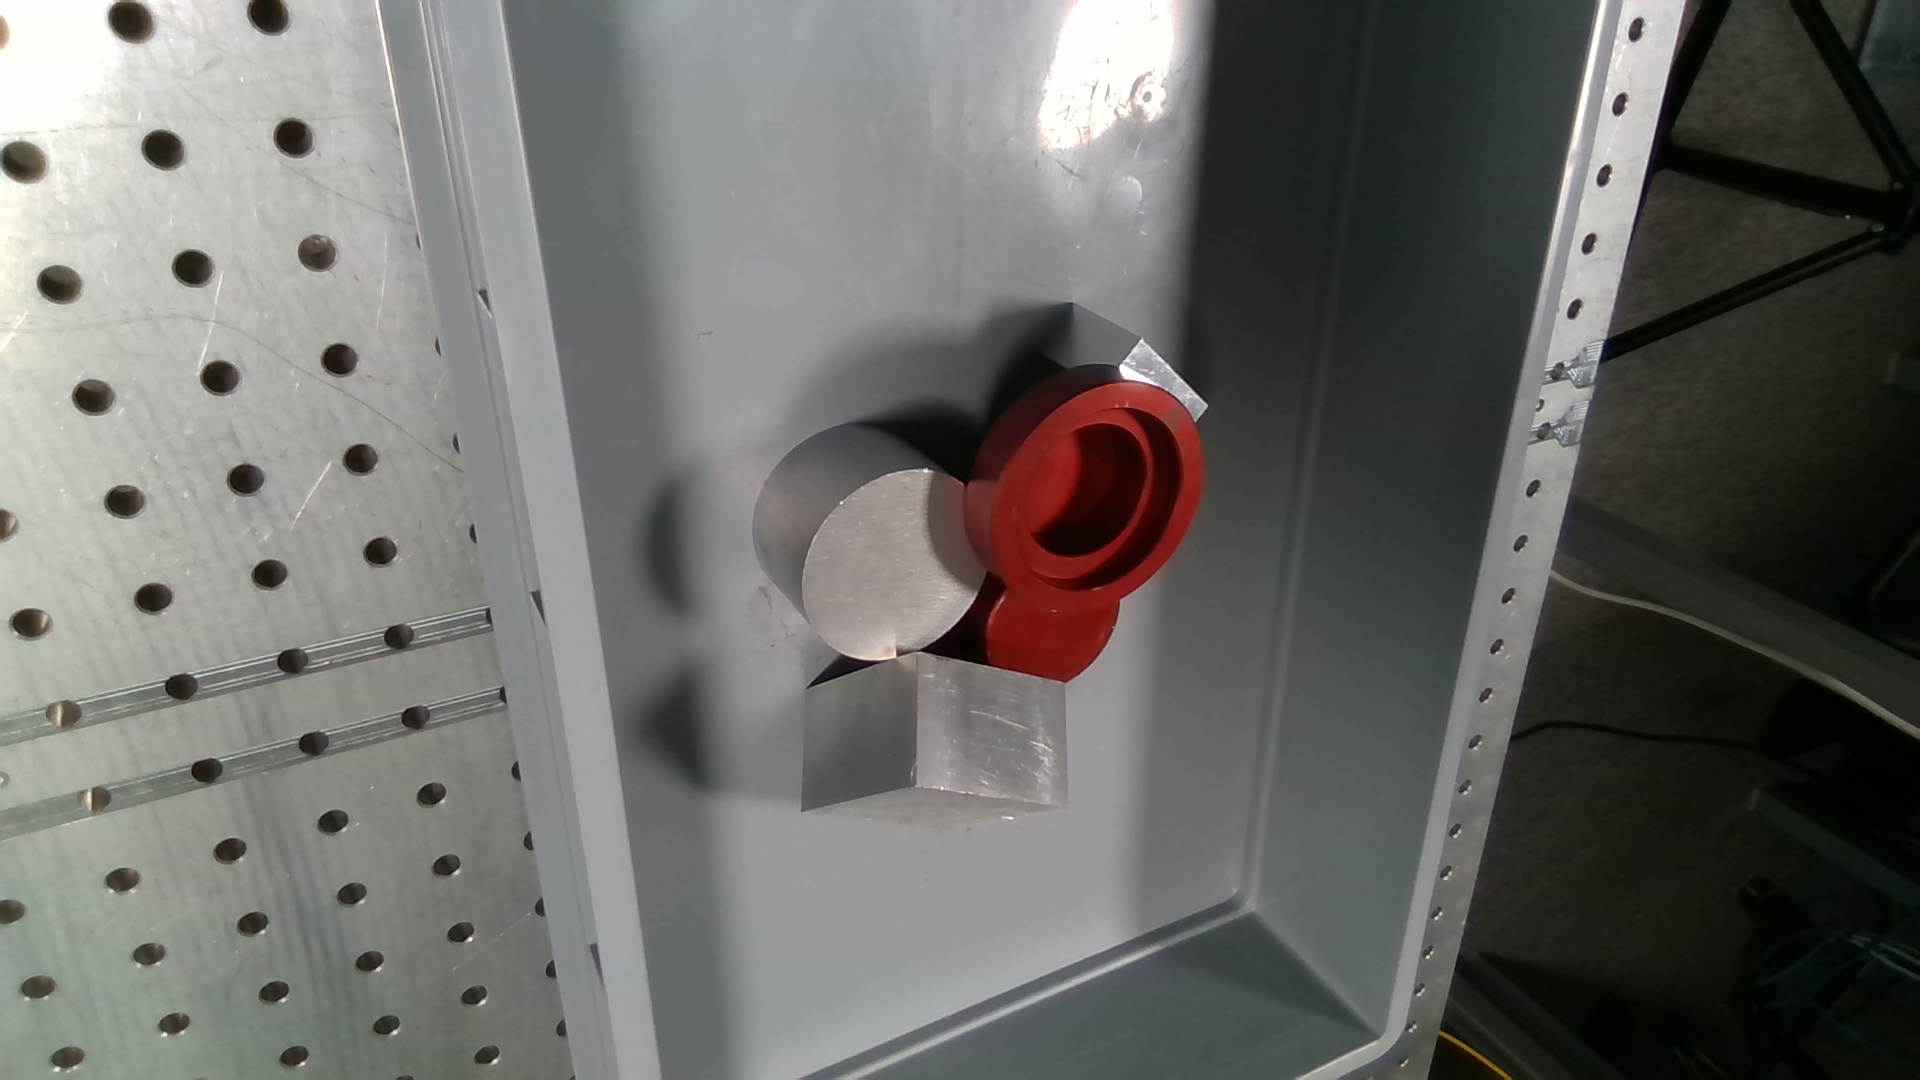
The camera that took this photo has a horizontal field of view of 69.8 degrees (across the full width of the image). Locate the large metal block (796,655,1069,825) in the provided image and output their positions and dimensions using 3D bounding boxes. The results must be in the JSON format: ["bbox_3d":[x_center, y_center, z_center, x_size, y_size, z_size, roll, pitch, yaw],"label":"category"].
[{"bbox_3d":[-0.012,0.087,0.575,0.080,0.080,0.050,16,65,-37],"label":"large metal block"}]

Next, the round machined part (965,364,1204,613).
[{"bbox_3d":[0.045,-0.024,0.545,0.098,0.042,0.098,-14,122,-25],"label":"round machined part"}]

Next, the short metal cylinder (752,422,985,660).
[{"bbox_3d":[-0.035,0.000,0.541,0.080,0.050,0.080,-14,122,-25],"label":"short metal cylinder"}]

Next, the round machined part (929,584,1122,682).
[{"bbox_3d":[0.031,0.028,0.600,0.098,0.042,0.098,-14,122,-25],"label":"round machined part"}]

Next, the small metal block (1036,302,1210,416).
[{"bbox_3d":[0.067,-0.067,0.567,0.050,0.050,0.025,35,94,-39],"label":"small metal block"}]
